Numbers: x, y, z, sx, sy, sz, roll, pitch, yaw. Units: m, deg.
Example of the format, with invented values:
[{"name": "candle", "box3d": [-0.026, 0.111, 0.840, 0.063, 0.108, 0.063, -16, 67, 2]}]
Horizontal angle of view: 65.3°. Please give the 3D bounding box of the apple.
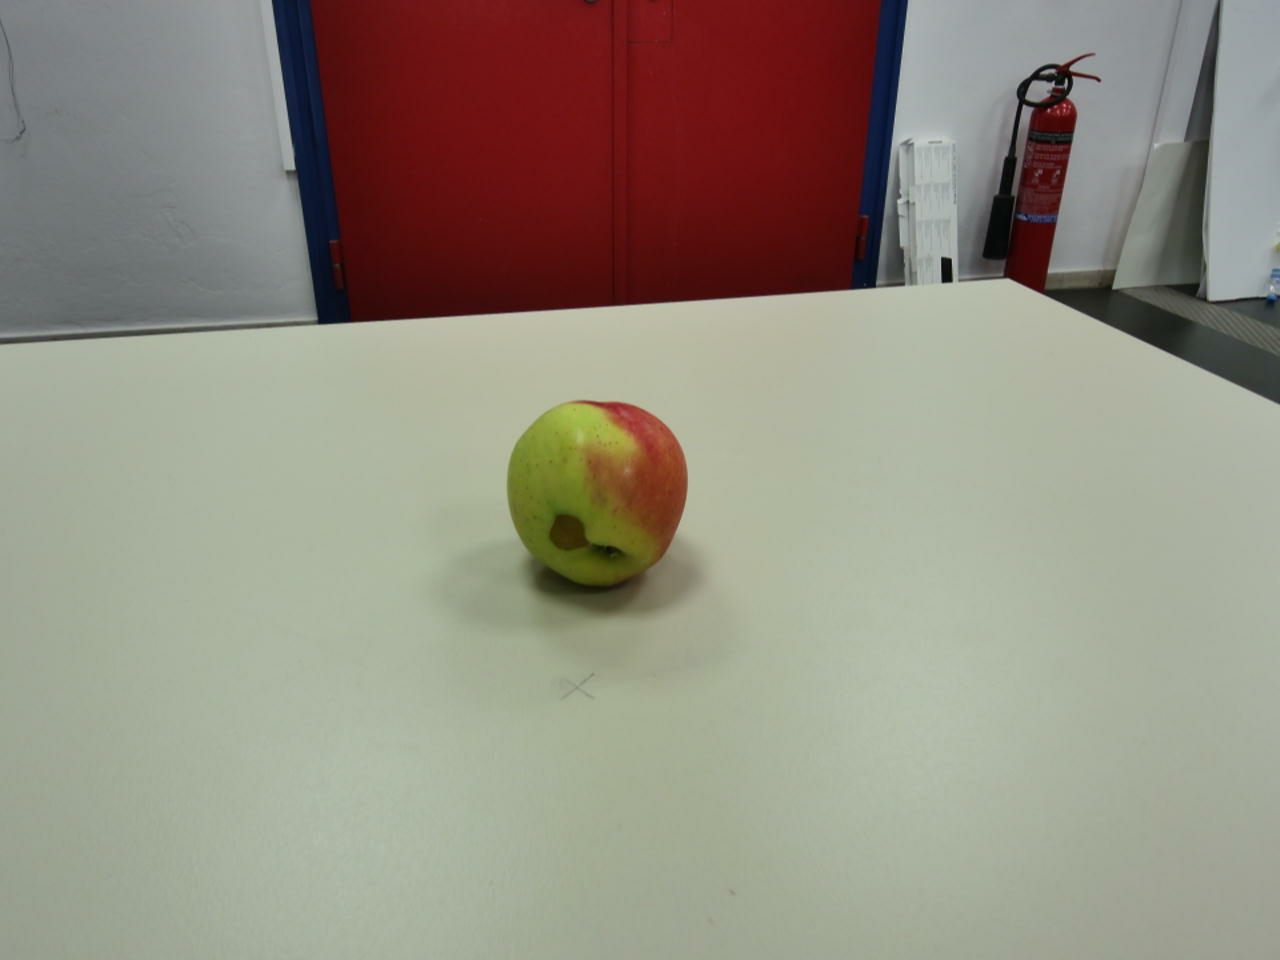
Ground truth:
[{"name": "apple", "box3d": [-0.016, 0.004, 0.408, 0.075, 0.074, 0.075, -14, 28, -30]}]
